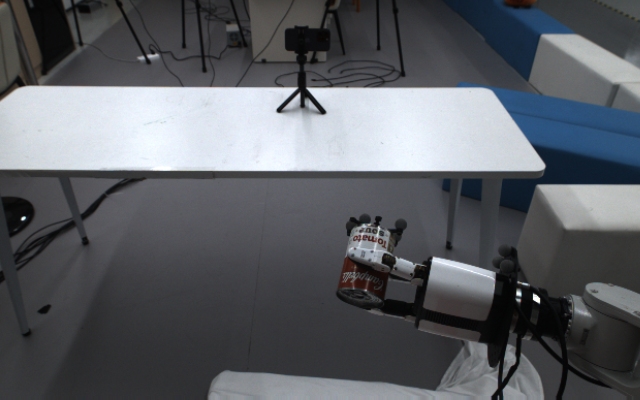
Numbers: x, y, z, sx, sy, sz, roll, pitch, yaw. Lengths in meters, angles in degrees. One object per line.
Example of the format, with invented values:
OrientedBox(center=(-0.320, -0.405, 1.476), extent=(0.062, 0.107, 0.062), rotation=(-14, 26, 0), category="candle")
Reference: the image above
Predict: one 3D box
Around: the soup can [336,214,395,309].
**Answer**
OrientedBox(center=(0.068, 0.092, 0.684), extent=(0.067, 0.067, 0.101), rotation=(9, 61, 10), category="soup can")
